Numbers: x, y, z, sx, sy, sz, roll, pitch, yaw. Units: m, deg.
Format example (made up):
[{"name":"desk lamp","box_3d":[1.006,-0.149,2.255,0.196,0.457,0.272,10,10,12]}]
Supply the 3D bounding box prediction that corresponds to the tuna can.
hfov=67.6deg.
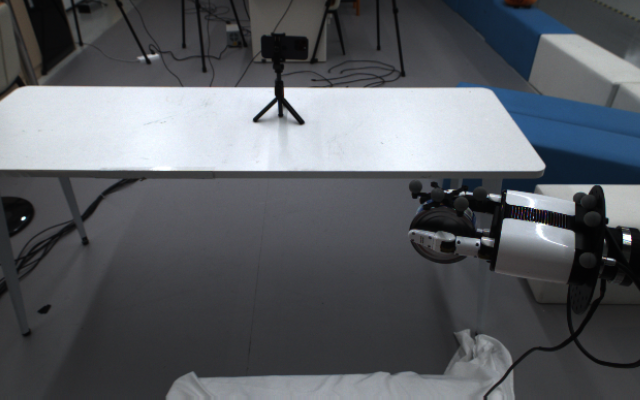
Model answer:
[{"name":"tuna can","box_3d":[0.166,0.036,0.640,0.085,0.085,0.034,13,29,15]}]
